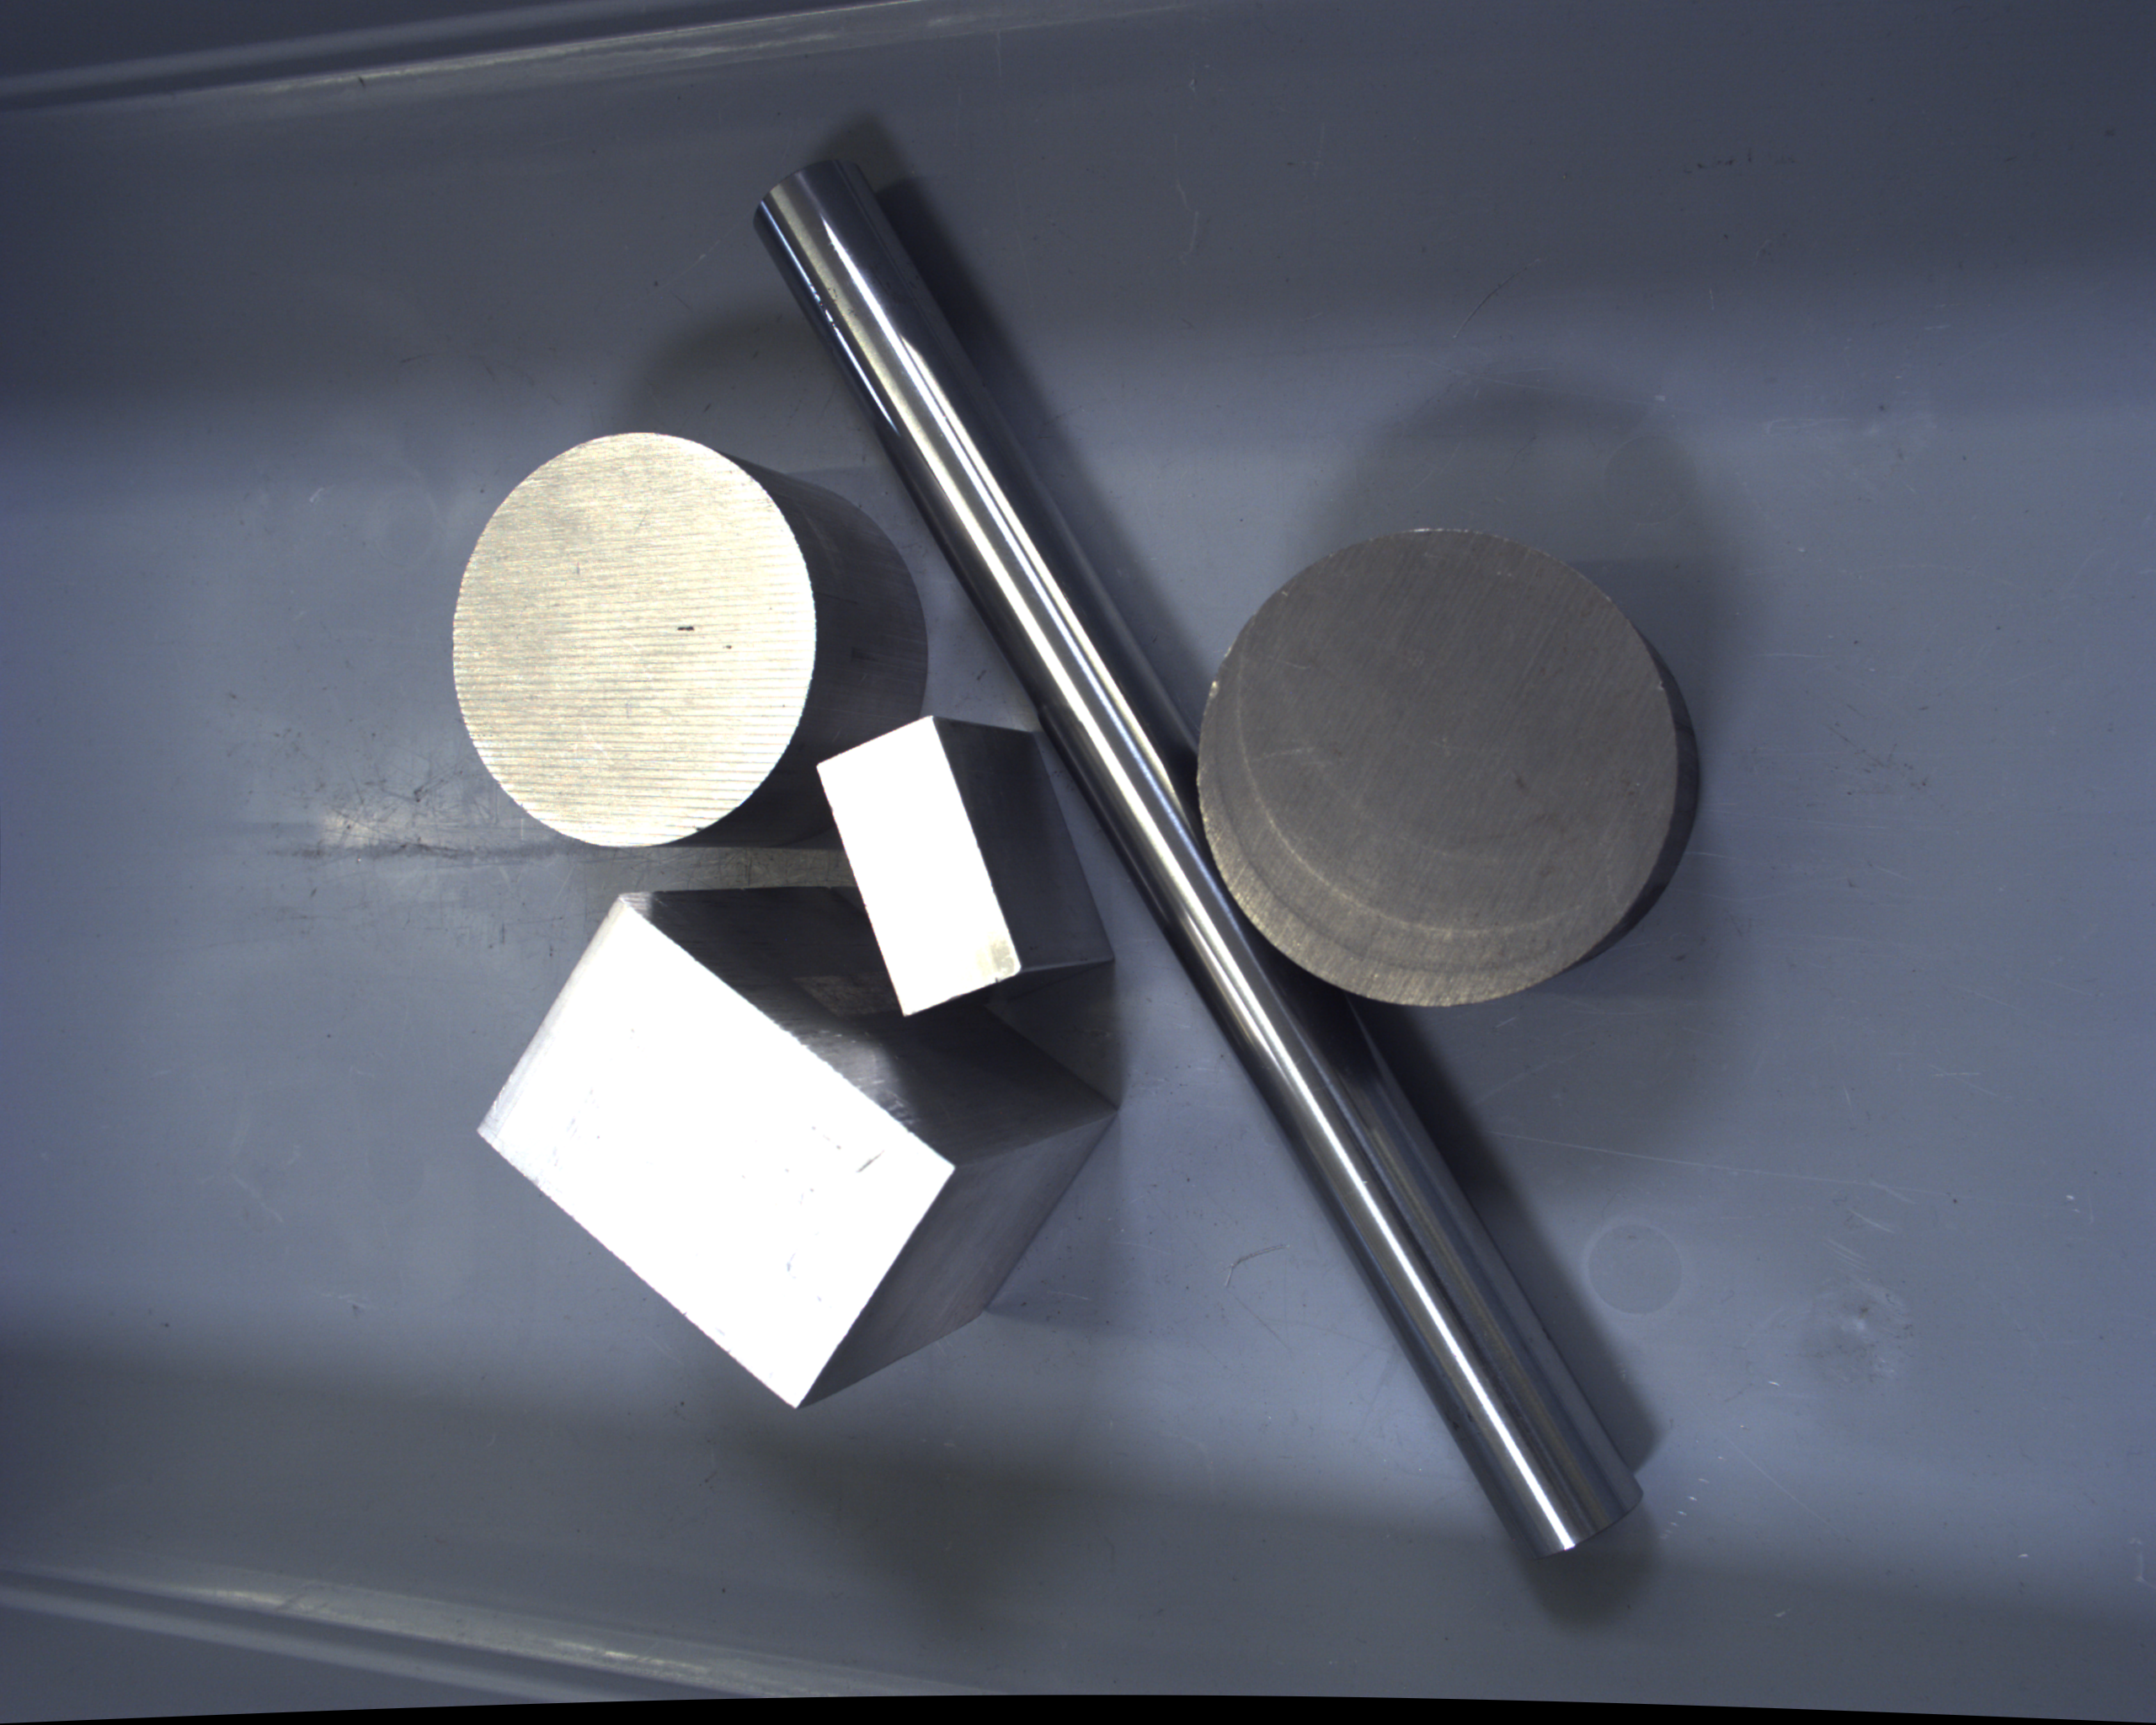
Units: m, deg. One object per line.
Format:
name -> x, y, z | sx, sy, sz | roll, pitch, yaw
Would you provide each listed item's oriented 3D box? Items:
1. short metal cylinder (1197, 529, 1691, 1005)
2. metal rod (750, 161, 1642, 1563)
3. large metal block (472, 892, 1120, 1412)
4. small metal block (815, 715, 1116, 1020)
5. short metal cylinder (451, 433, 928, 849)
short metal cylinder -> 0.067, -0.016, 0.372 | 0.080, 0.050, 0.079 | 0, 90, 20
metal rod -> 0.017, -0.008, 0.402 | 0.025, 0.025, 0.299 | -33, 80, 17
large metal block -> -0.050, 0.049, 0.396 | 0.080, 0.080, 0.050 | 36, 102, 17
small metal block -> -0.021, 0.001, 0.402 | 0.025, 0.050, 0.050 | -22, 83, 19
short metal cylinder -> -0.078, -0.043, 0.423 | 0.080, 0.050, 0.079 | 0, 90, 20
